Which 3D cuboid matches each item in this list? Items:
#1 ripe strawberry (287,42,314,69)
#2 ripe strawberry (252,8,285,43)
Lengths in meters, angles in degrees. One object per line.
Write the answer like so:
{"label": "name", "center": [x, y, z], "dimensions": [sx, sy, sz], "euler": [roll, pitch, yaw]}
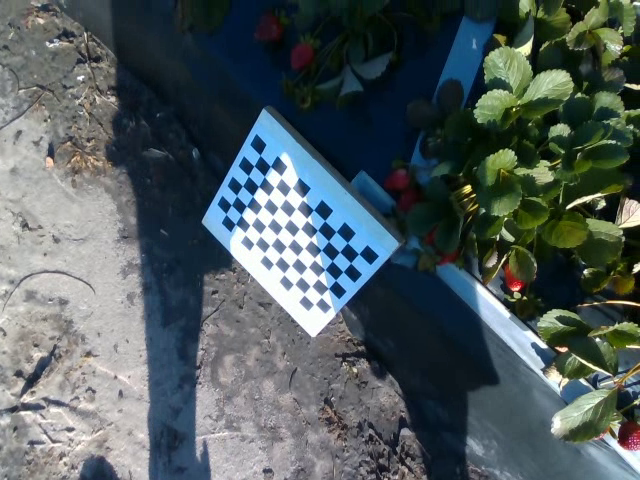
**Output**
{"label": "ripe strawberry", "center": [-0.032, -0.273, 0.971], "dimensions": [0.042, 0.049, 0.039], "euler": [8, -34, 37]}
{"label": "ripe strawberry", "center": [-0.087, -0.320, 0.981], "dimensions": [0.050, 0.051, 0.044], "euler": [-35, 5, -23]}
